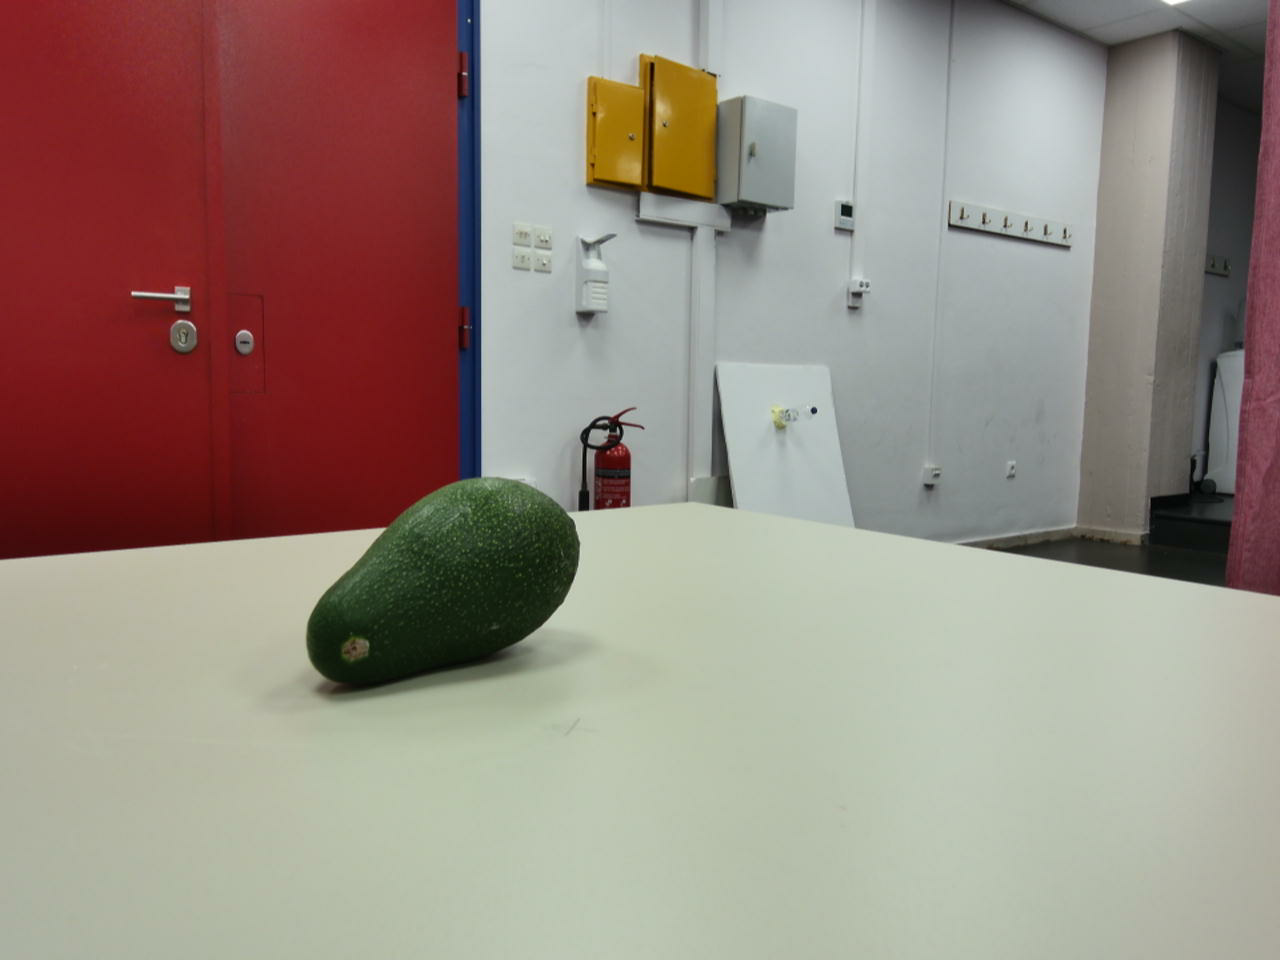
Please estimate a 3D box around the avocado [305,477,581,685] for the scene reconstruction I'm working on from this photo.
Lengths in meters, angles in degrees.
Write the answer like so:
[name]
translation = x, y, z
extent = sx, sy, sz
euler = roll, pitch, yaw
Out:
[avocado]
translation = -0.082, 0.037, 0.417
extent = 0.123, 0.076, 0.074
euler = -2, 4, -33
